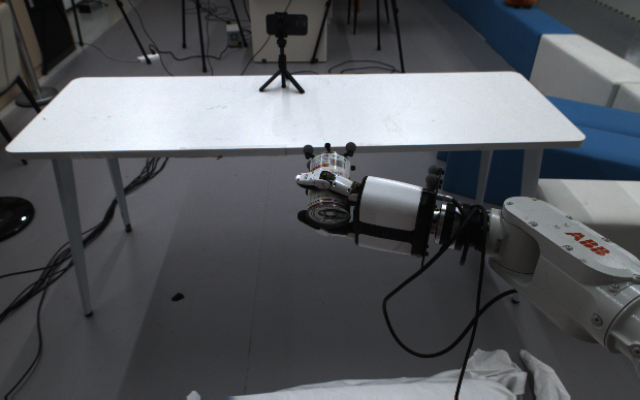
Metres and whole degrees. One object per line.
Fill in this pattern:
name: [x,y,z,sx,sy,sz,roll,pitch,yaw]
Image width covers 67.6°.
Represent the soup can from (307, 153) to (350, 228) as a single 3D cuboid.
soup can: [0.015,-0.016,0.749,0.067,0.067,0.101,3,56,1]
